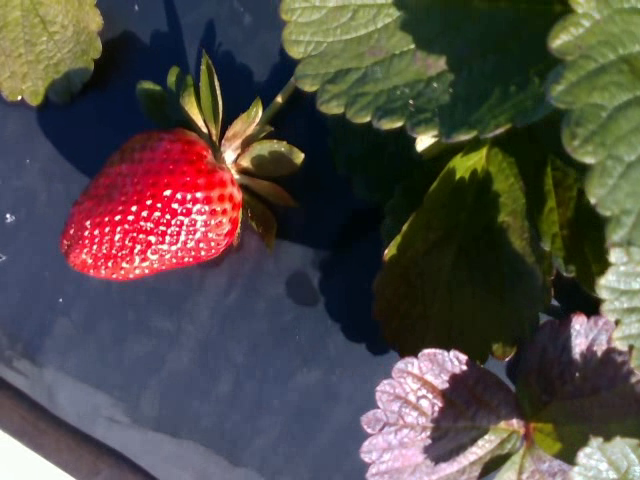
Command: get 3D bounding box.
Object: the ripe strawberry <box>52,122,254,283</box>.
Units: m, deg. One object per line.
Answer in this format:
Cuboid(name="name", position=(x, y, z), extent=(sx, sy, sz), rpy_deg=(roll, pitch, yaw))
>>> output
Cuboid(name="ripe strawberry", position=(-0.047, -0.006, 0.161), extent=(0.050, 0.043, 0.043), rpy_deg=(-32, 9, -25))
